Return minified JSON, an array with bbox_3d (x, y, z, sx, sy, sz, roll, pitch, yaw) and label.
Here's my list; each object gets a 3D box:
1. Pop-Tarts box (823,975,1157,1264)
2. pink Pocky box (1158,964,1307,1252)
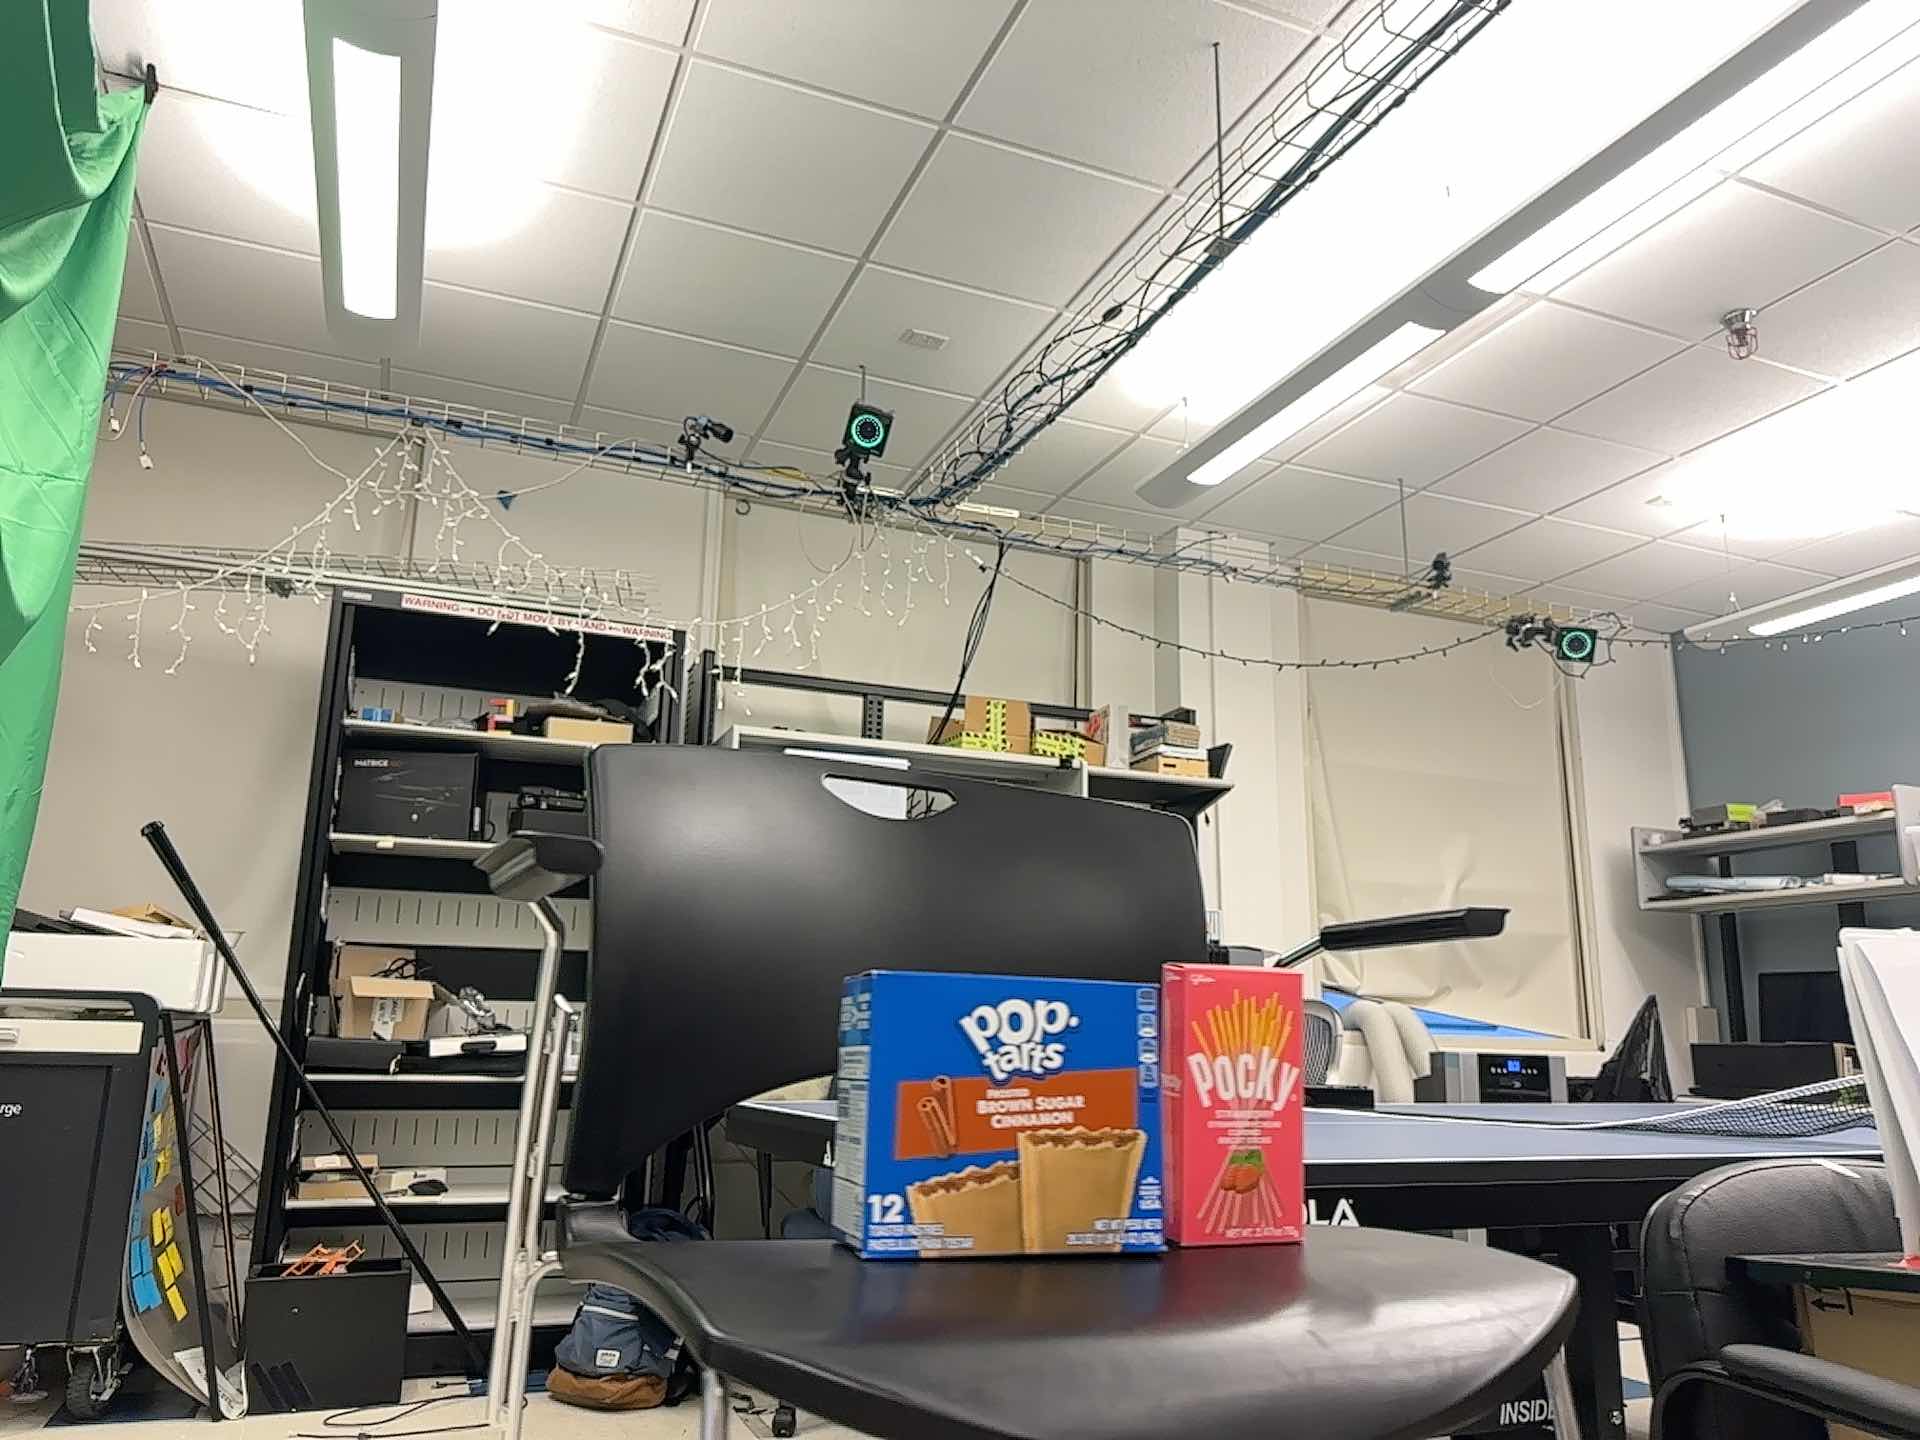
[{"bbox_3d":[0.016,0.215,0.740,0.161,0.135,0.075,7,-15,-21],"label":"Pop-Tarts box"},{"bbox_3d":[0.157,0.219,0.772,0.084,0.155,0.029,7,-10,-25],"label":"pink Pocky box"}]
